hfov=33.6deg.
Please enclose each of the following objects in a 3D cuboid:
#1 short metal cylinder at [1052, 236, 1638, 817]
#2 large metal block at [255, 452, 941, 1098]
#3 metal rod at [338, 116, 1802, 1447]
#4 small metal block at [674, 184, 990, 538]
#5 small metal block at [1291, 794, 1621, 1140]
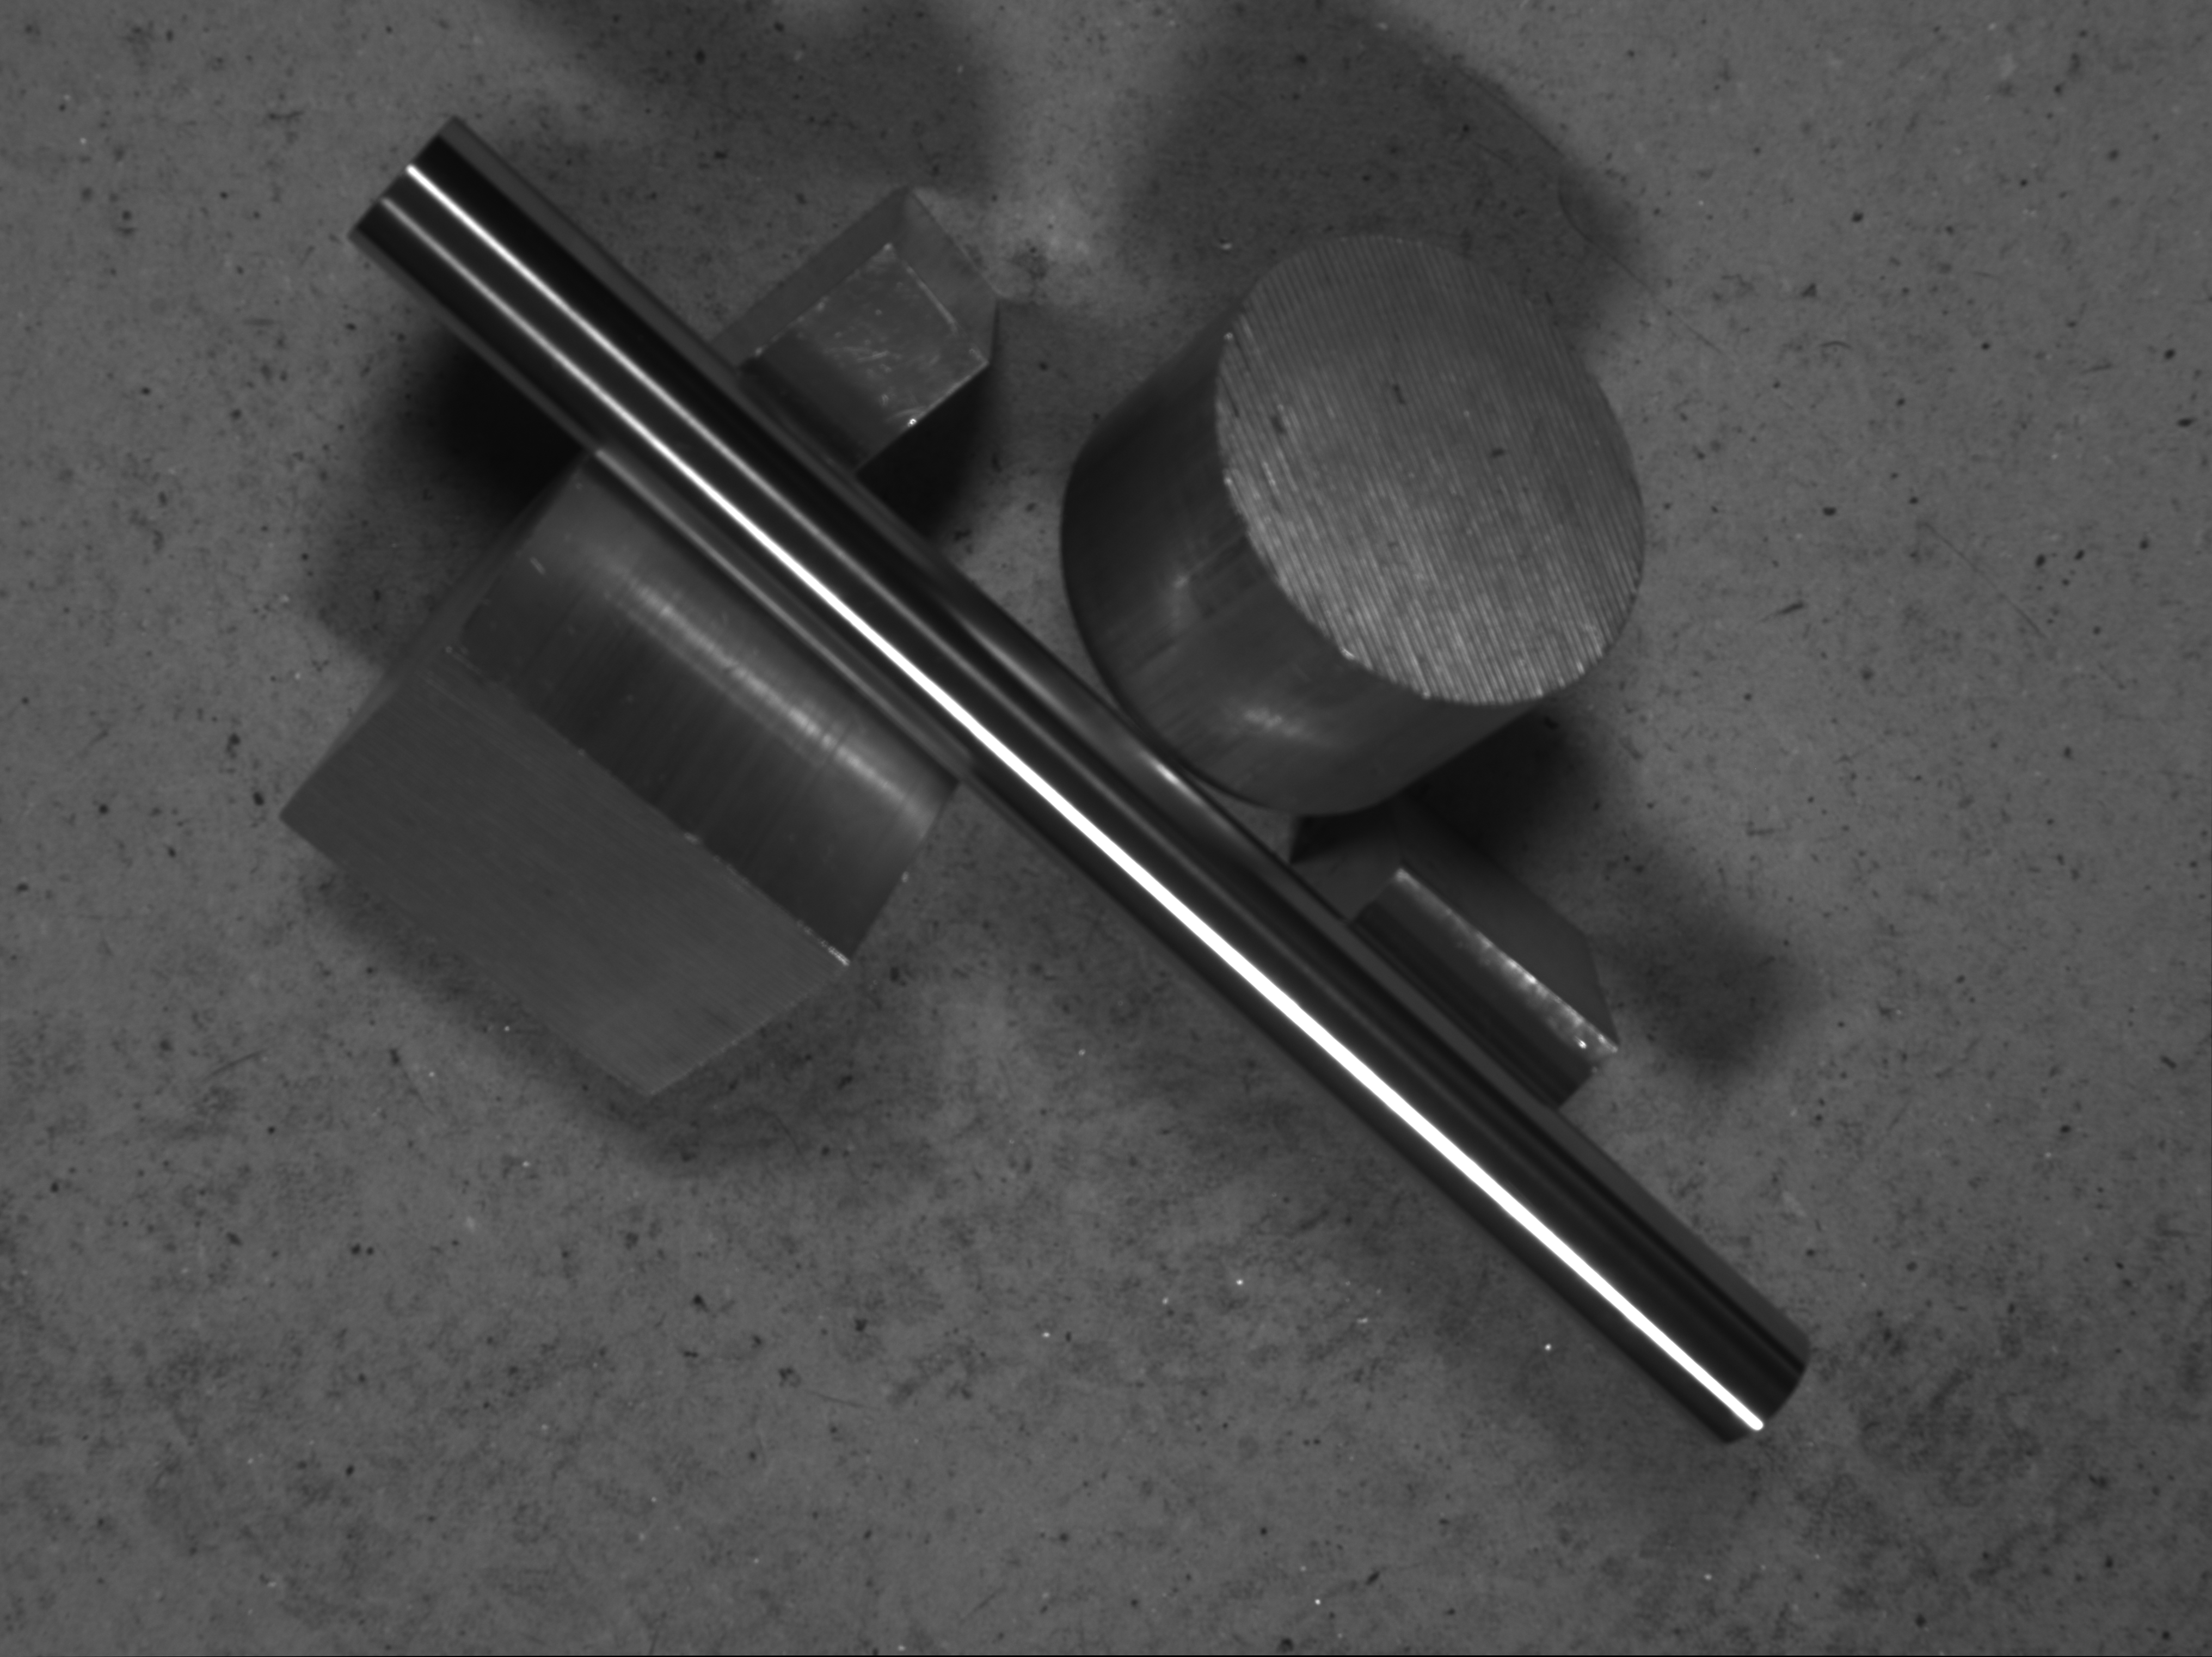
[{"bbox_3d":[0.038,-0.048,0.590,0.080,0.080,0.050,37,147,-13],"label":"short metal cylinder"},{"bbox_3d":[-0.082,-0.009,0.607,0.080,0.050,0.080,39,146,-14],"label":"large metal block"},{"bbox_3d":[0.001,-0.001,0.590,0.300,0.025,0.025,42,104,-14],"label":"metal rod"},{"bbox_3d":[-0.046,-0.076,0.602,0.050,0.050,0.025,-37,106,12],"label":"small metal block"},{"bbox_3d":[0.059,0.023,0.636,0.050,0.050,0.025,39,105,-13],"label":"small metal block"}]
